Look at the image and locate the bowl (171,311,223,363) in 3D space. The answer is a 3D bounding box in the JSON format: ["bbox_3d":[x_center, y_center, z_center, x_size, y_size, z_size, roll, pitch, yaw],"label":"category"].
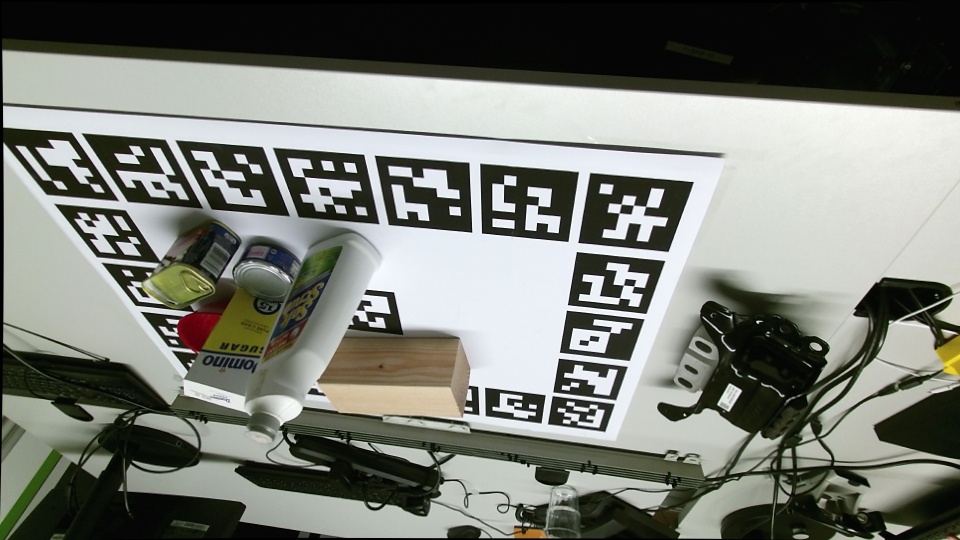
[{"bbox_3d":[-0.383,0.110,0.830,0.162,0.055,0.162,3,137,3],"label":"bowl"}]

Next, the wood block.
[{"bbox_3d":[-0.127,0.174,0.827,0.207,0.089,0.091,-1,132,14],"label":"wood block"}]

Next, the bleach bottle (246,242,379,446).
[{"bbox_3d":[-0.198,0.081,0.621,0.103,0.249,0.068,-14,133,24],"label":"bleach bottle"}]

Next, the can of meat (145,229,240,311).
[{"bbox_3d":[-0.371,0.002,0.698,0.102,0.083,0.058,-17,134,29],"label":"can of meat"}]

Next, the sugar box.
[{"bbox_3d":[-0.314,0.105,0.719,0.093,0.175,0.045,17,135,-12],"label":"sugar box"}]

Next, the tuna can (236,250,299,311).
[{"bbox_3d":[-0.283,0.014,0.720,0.086,0.033,0.086,5,134,5],"label":"tuna can"}]
